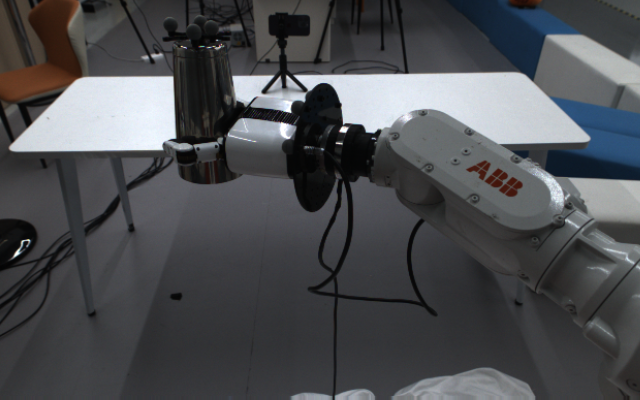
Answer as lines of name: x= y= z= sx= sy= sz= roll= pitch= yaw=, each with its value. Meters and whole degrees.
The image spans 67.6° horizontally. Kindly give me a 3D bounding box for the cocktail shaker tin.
cocktail shaker tin: x=-0.147 y=-0.117 z=0.630 sx=0.093 sy=0.170 sz=0.093 roll=0 pitch=28 yaw=0
